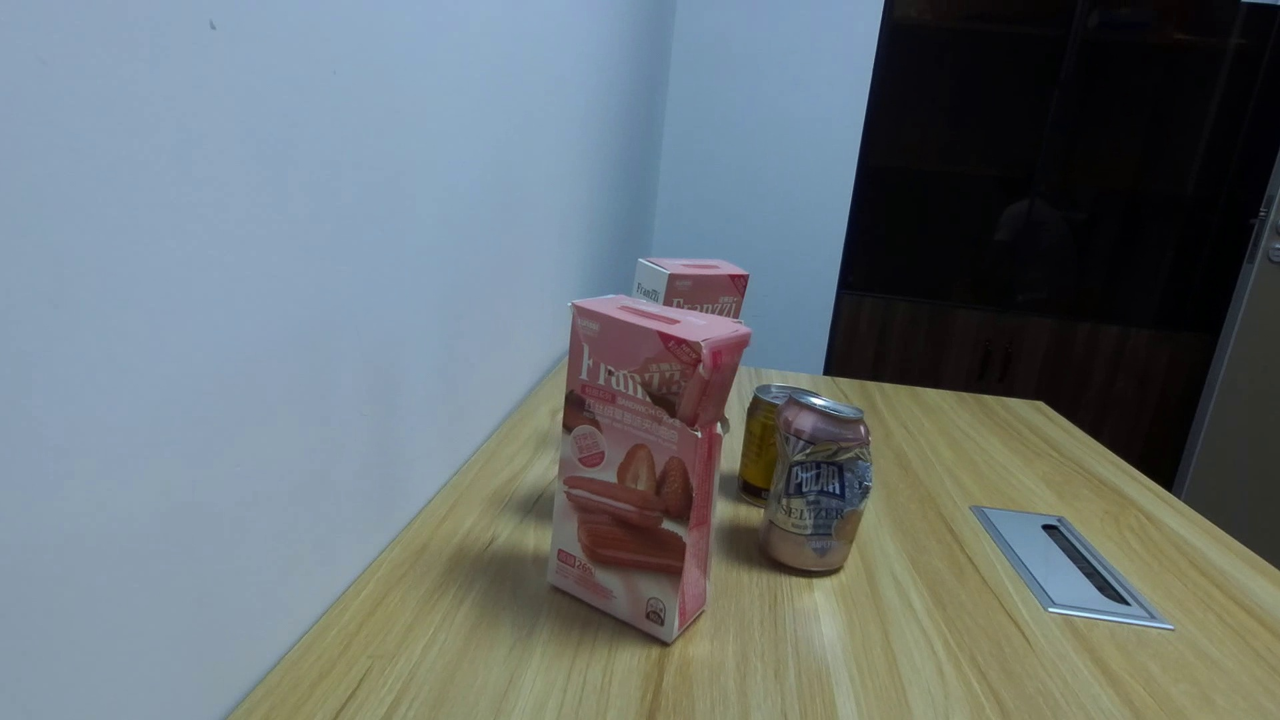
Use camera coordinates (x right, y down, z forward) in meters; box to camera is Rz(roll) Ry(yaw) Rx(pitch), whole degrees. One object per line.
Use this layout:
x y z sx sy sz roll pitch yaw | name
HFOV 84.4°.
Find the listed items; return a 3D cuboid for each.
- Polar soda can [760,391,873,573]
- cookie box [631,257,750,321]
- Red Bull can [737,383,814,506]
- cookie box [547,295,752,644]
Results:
0.127 0.087 0.507 0.071 0.121 0.066 5 10 -6 | Polar soda can
0.037 0.001 0.659 0.105 0.187 0.048 -5 26 -34 | cookie box
0.121 0.073 0.600 0.069 0.092 0.069 5 14 -1 | Red Bull can
0.001 0.061 0.421 0.104 0.186 0.060 17 21 34 | cookie box
